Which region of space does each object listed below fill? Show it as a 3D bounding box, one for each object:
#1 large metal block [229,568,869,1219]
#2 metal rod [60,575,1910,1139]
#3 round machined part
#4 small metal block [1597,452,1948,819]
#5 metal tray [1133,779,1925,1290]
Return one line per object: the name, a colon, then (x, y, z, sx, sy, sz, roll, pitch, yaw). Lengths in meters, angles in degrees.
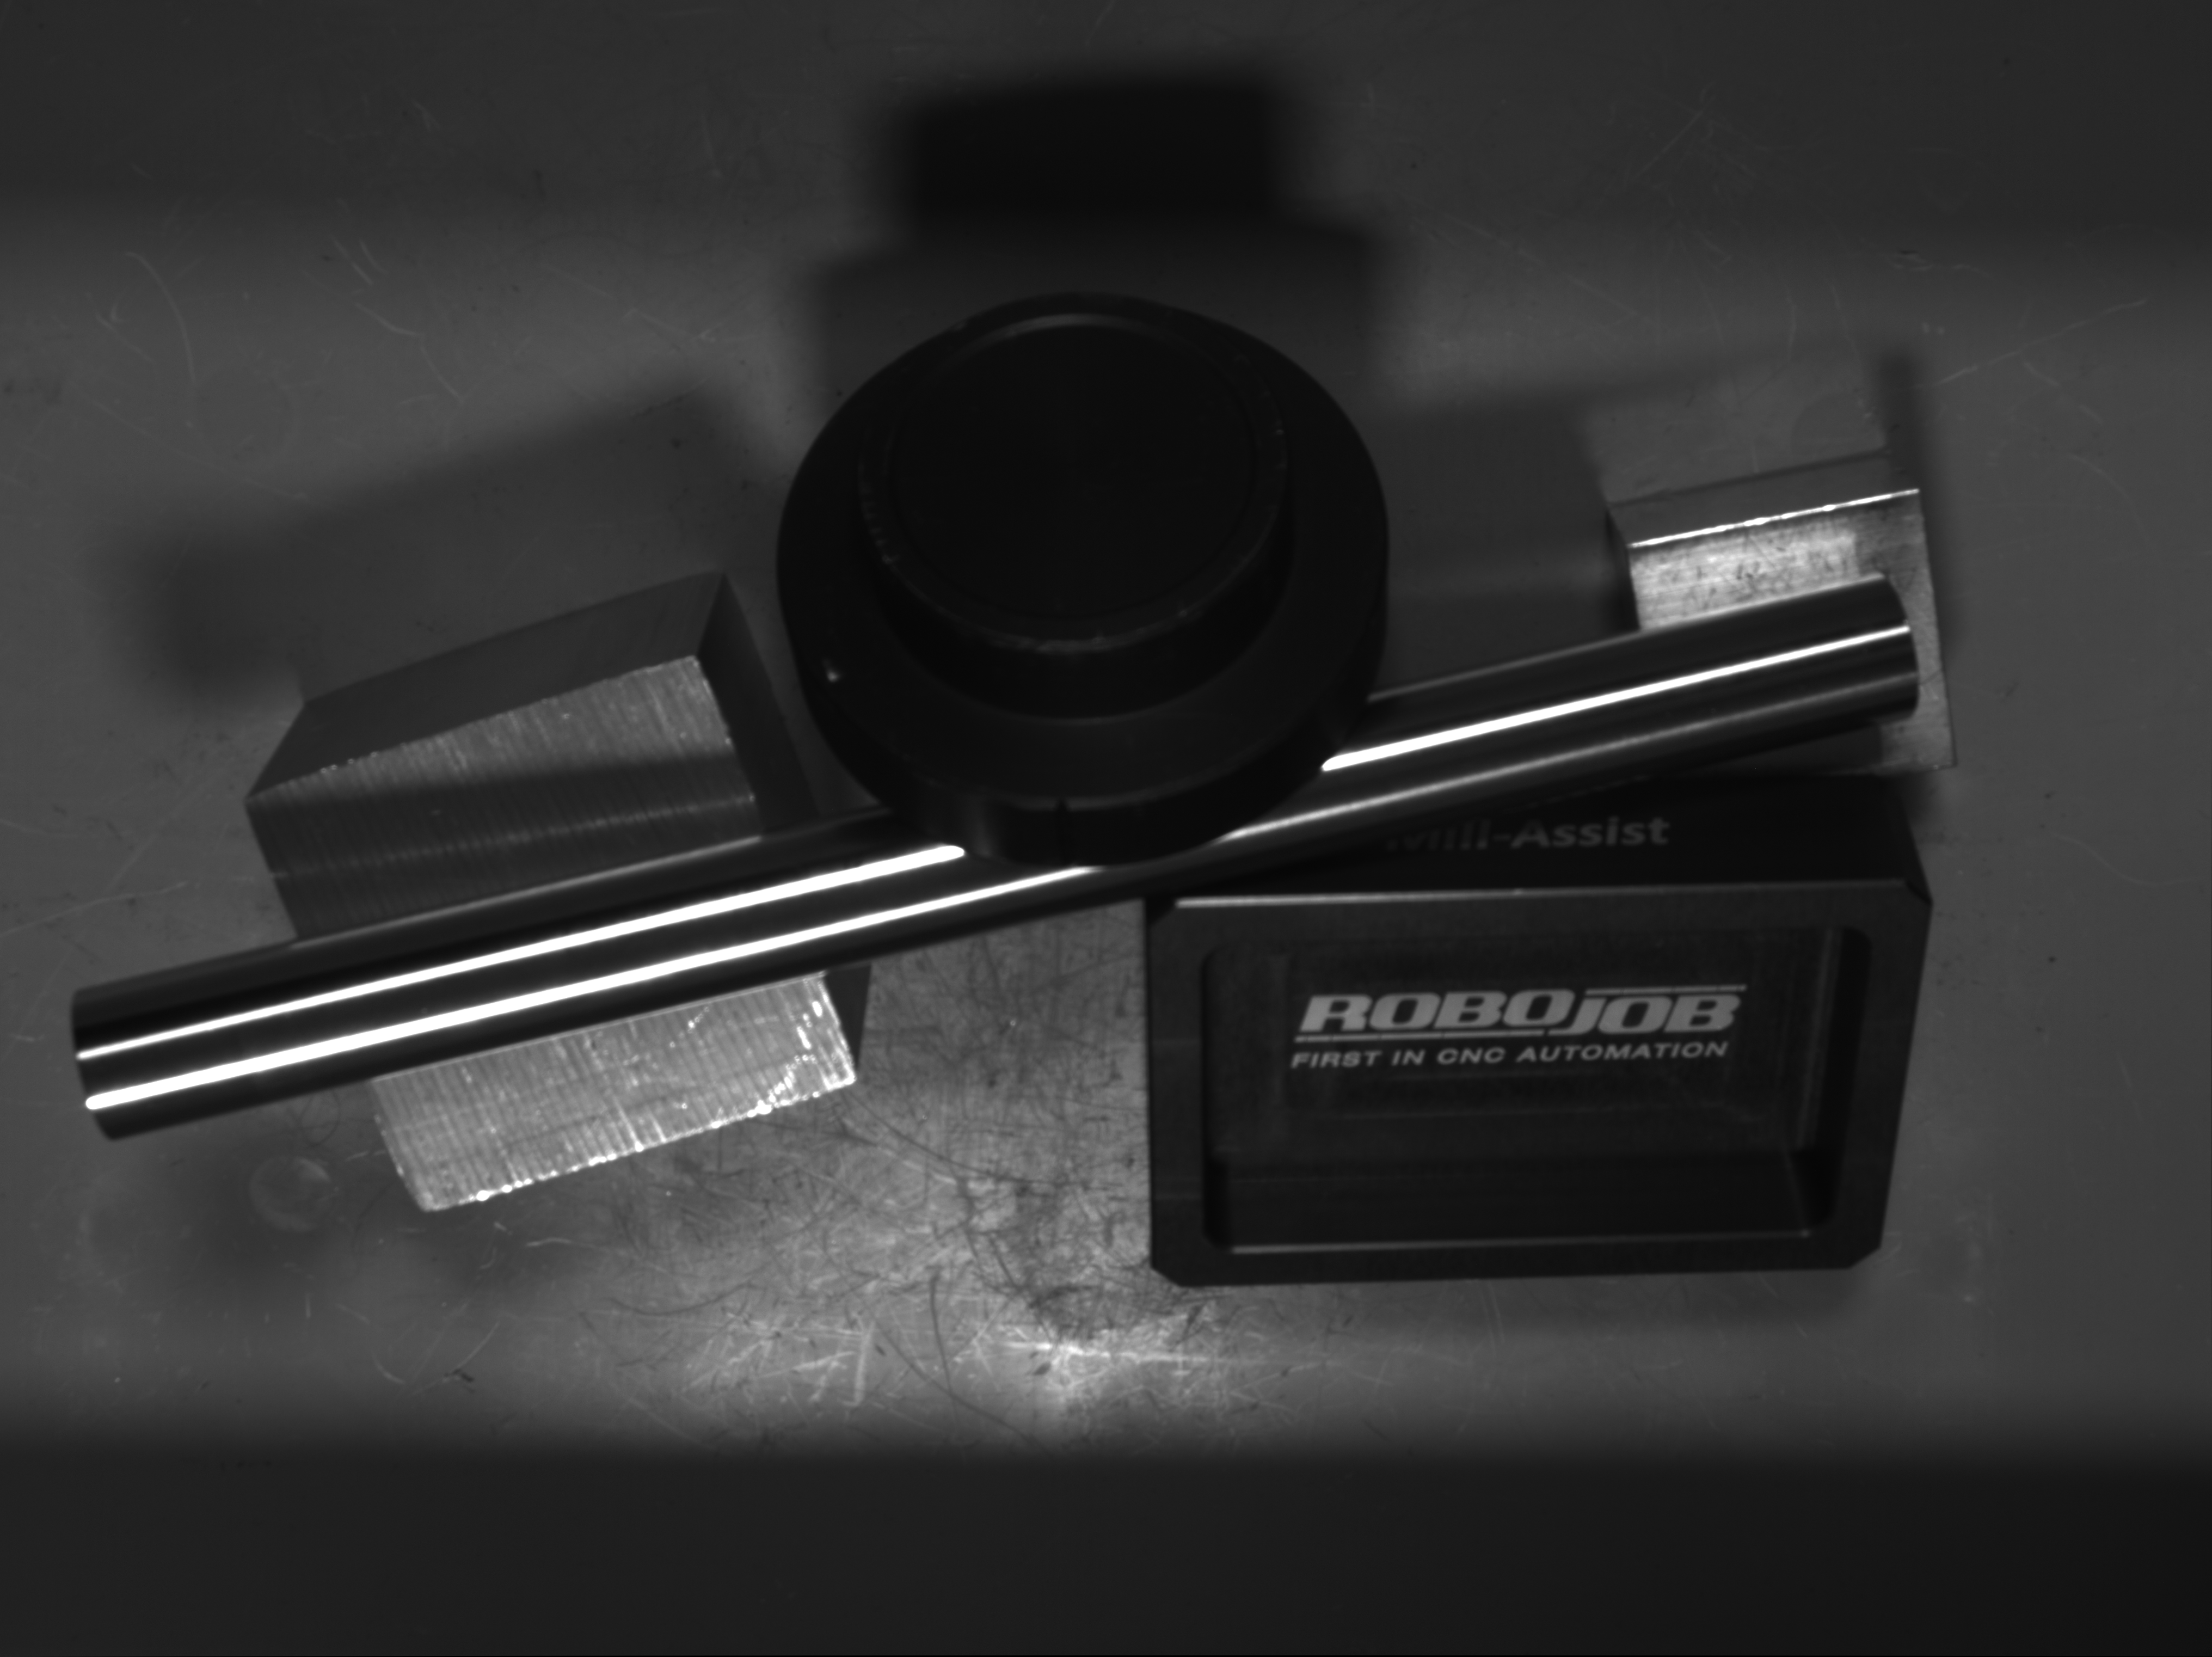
large metal block: (-0.093, 0.011, 0.630, 0.080, 0.050, 0.080, -17, 109, 5)
metal rod: (-0.018, 0.004, 0.596, 0.300, 0.025, 0.025, -13, 110, -4)
round machined part: (-0.006, -0.046, 0.584, 0.098, 0.098, 0.042, -4, 150, 1)
small metal block: (0.114, -0.033, 0.631, 0.050, 0.025, 0.050, -11, 110, 3)
metal tray: (0.070, 0.037, 0.639, 0.130, 0.030, 0.090, -2, 129, -1)
